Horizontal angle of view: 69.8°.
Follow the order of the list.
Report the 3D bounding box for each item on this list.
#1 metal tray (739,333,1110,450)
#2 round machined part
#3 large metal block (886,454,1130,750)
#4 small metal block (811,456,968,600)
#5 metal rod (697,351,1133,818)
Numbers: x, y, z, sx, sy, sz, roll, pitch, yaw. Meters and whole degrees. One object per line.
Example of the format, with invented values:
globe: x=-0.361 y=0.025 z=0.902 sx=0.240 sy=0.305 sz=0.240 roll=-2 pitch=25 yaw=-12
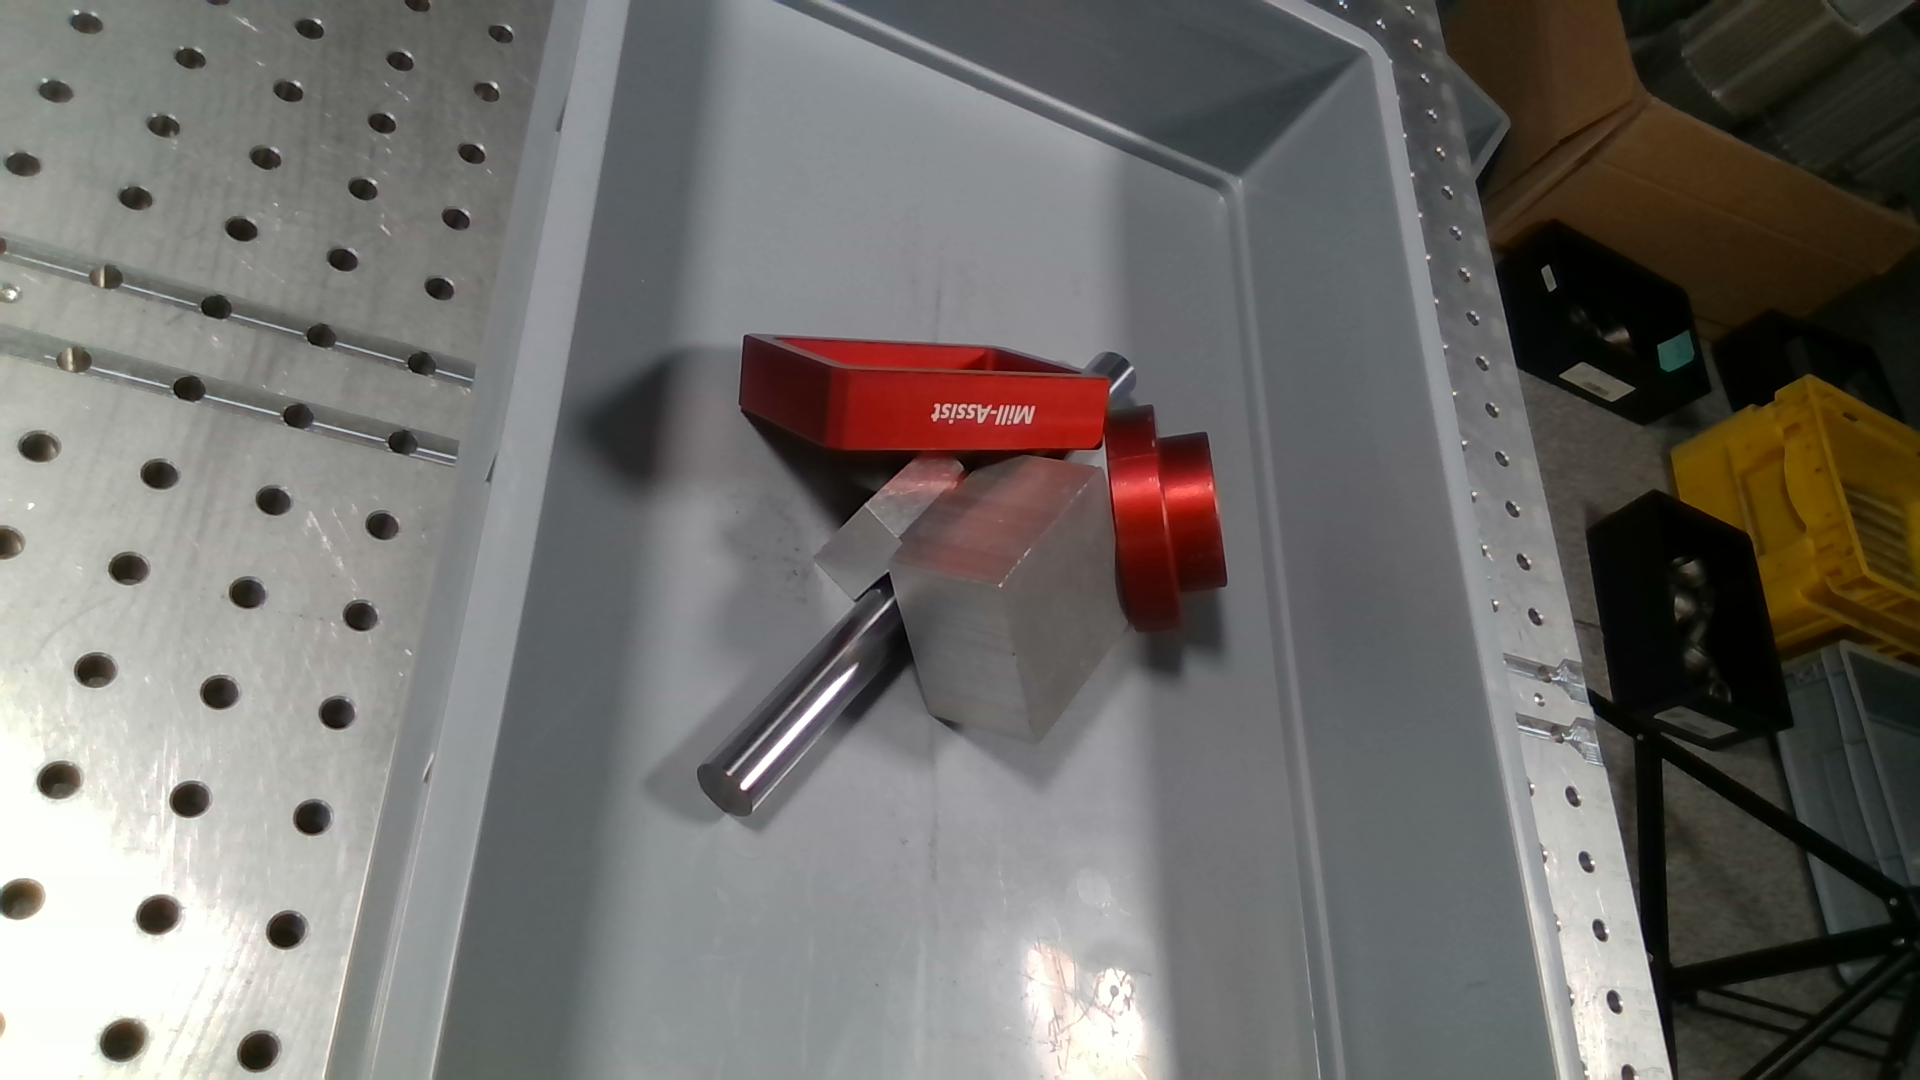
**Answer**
metal tray: x=-0.015 y=-0.062 z=0.569 sx=0.130 sy=0.090 sz=0.030 roll=-2 pitch=107 yaw=-33
round machined part: x=0.091 y=-0.011 z=0.597 sx=0.042 sy=0.098 sz=0.098 roll=-7 pitch=62 yaw=10
large metal block: x=0.022 y=0.022 z=0.545 sx=0.080 sy=0.050 sz=0.080 roll=-47 pitch=137 yaw=-39
small metal block: x=-0.026 y=-0.007 z=0.556 sx=0.025 sy=0.050 sz=0.050 roll=46 pitch=51 yaw=-2
metal rod: x=-0.004 y=0.004 z=0.580 sx=0.025 sy=0.025 sz=0.299 roll=45 pitch=51 yaw=-3
